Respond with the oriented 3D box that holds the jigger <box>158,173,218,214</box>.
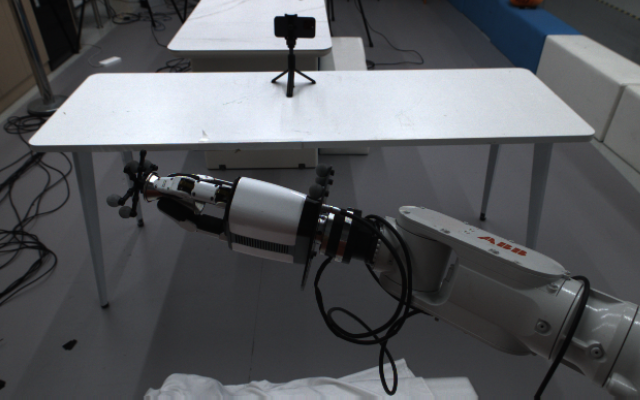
[{"bbox_3d":[-0.177,-0.011,0.615,0.071,0.043,0.043,13,36,4],"label":"jigger"}]
